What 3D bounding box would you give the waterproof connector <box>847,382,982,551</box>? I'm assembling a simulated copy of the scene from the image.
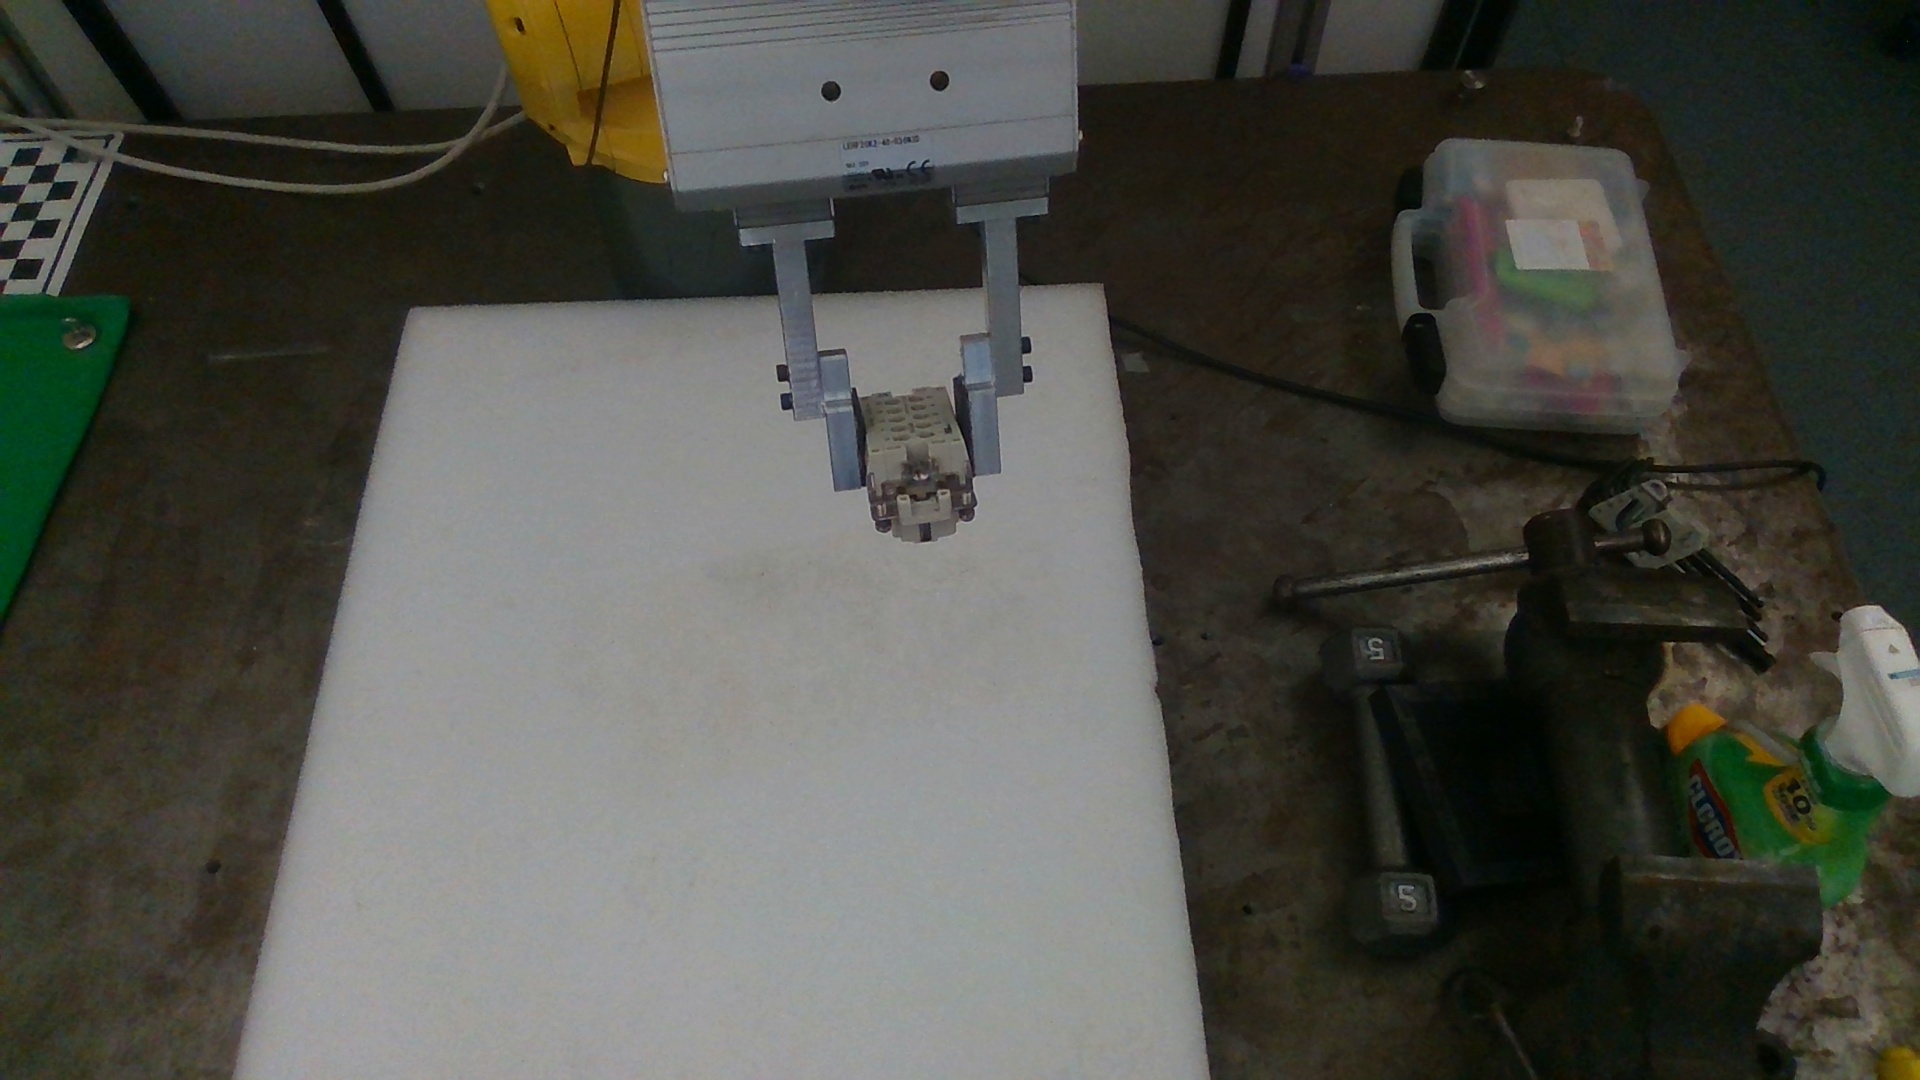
[{"bbox_3d":[-0.016,-0.025,0.470,0.037,0.038,0.069,-12,33,-5],"label":"waterproof connector"}]
